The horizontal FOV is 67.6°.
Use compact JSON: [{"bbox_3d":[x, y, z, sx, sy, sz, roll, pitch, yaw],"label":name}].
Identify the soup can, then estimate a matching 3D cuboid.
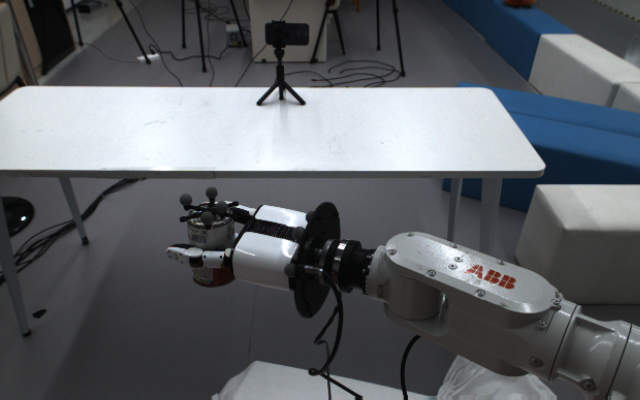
[{"bbox_3d":[-0.155,0.068,0.705,0.067,0.101,0.067,1,25,0],"label":"soup can"}]
